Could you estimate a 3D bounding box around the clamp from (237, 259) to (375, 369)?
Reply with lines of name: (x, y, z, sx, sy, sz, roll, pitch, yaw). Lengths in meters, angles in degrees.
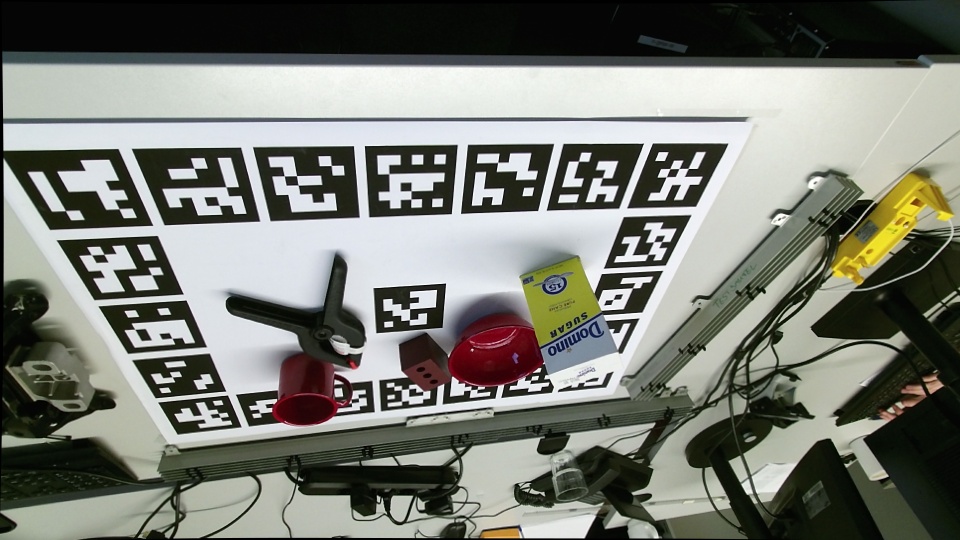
clamp: (-0.209, 0.084, 0.753, 0.166, 0.036, 0.203, -22, 133, 4)

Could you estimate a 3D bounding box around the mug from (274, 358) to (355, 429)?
mug: (-0.248, 0.193, 0.819, 0.118, 0.081, 0.093, 19, 125, -25)

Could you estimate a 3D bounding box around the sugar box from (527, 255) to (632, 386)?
sugar box: (0.130, 0.063, 0.731, 0.093, 0.175, 0.045, -21, 132, 7)

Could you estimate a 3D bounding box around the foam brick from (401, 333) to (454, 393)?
foam brick: (-0.083, 0.148, 0.851, 0.053, 0.051, 0.078, -24, 133, 7)

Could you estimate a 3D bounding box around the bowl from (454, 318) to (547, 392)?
bowl: (0.035, 0.126, 0.849, 0.162, 0.055, 0.162, -7, 134, -7)
